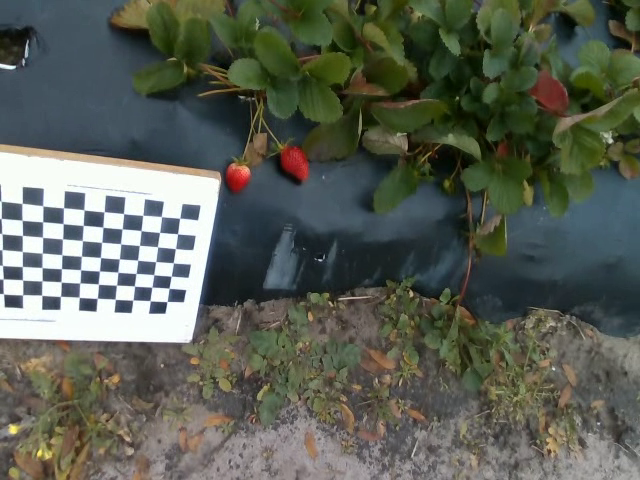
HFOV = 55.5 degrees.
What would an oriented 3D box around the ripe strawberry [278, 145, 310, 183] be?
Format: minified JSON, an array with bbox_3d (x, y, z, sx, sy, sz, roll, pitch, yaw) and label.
[{"bbox_3d":[-0.033,-0.106,0.825,0.044,0.059,0.042,-30,12,16],"label":"ripe strawberry"}]

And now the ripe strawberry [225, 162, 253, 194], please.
[{"bbox_3d":[-0.107,-0.083,0.803,0.036,0.041,0.028,9,10,-10],"label":"ripe strawberry"}]
